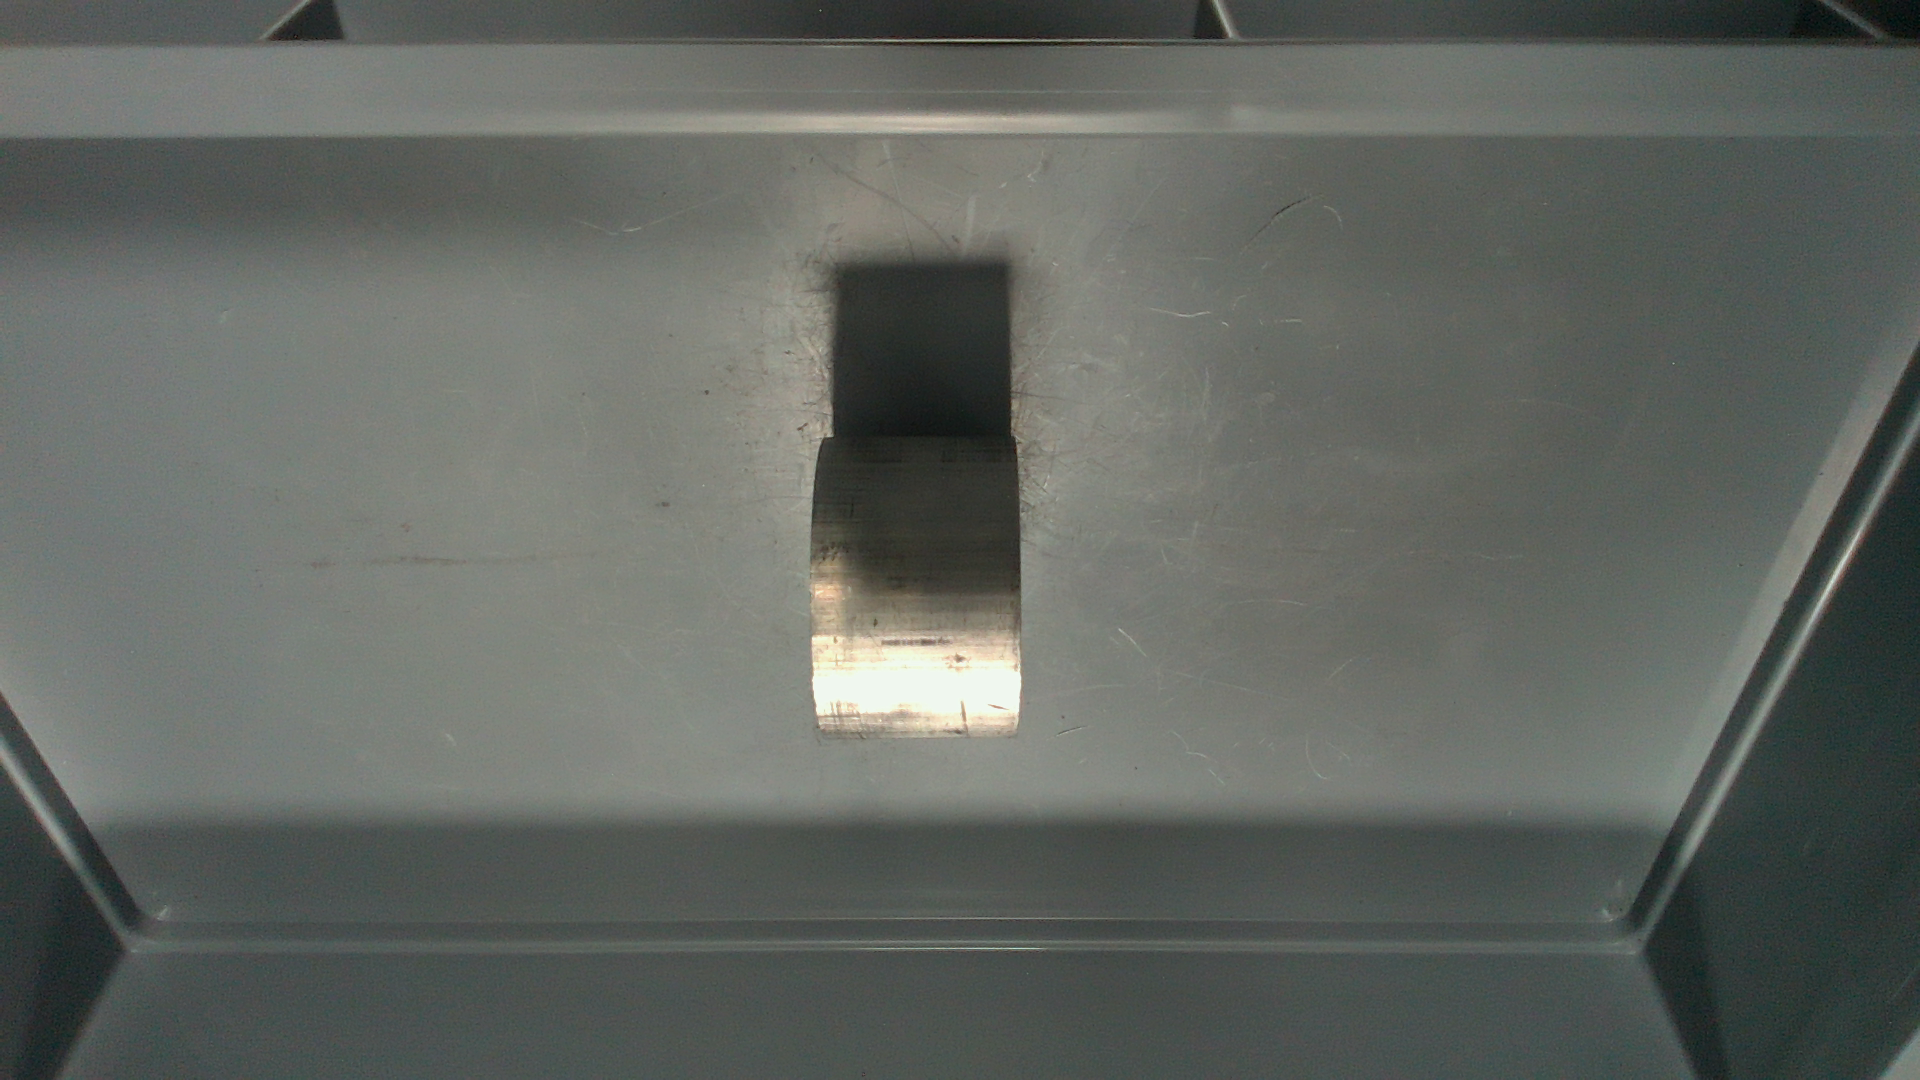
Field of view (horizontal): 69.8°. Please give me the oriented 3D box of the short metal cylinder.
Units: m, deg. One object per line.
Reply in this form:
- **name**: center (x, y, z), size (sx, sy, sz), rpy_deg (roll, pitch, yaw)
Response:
- **short metal cylinder**: center (-0.010, 0.013, 0.363), size (0.050, 0.080, 0.080), rpy_deg (0, 130, 0)
